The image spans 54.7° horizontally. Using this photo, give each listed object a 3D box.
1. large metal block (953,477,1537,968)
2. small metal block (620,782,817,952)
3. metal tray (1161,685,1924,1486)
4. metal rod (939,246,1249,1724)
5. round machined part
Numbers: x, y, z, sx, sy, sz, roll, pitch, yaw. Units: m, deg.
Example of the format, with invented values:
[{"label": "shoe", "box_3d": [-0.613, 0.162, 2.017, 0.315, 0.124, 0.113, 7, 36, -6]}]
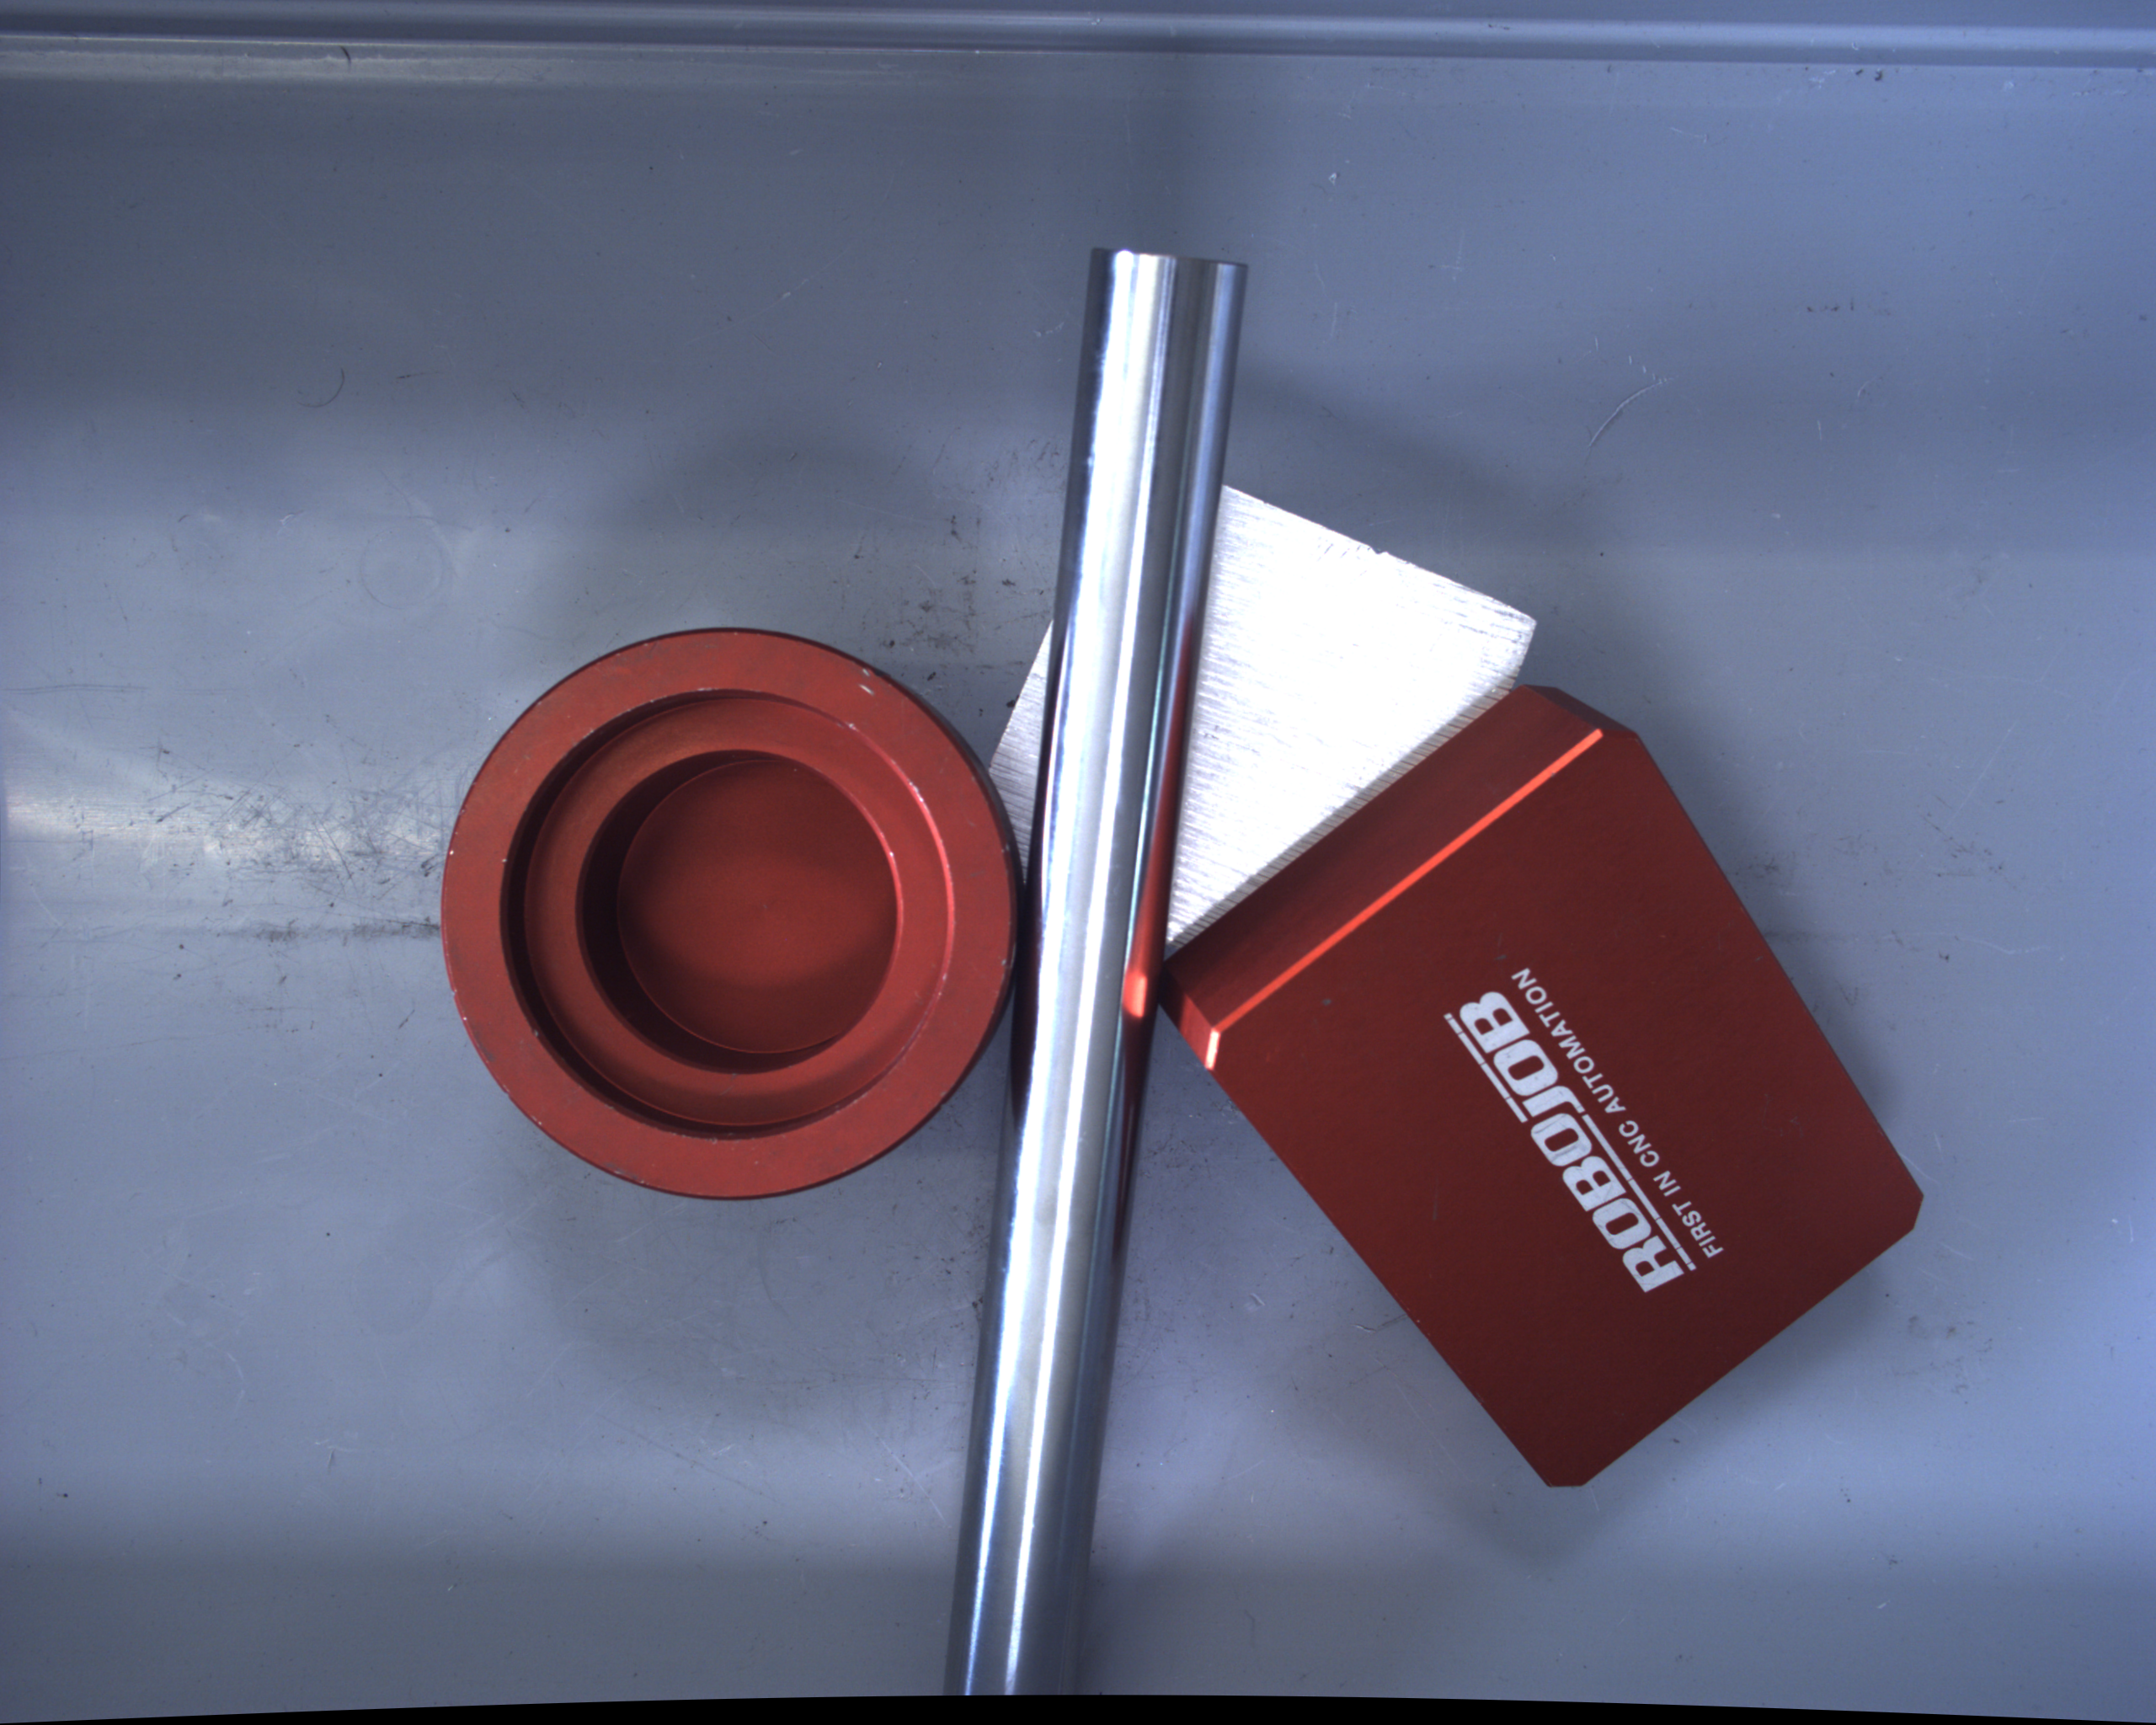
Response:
[{"label": "large metal block", "box_3d": [0.030, -0.023, 0.398, 0.080, 0.050, 0.080, 23, 90, 0]}, {"label": "small metal block", "box_3d": [-0.073, -0.007, 0.410, 0.050, 0.025, 0.050, -22, 90, 0]}, {"label": "metal tray", "box_3d": [0.087, 0.044, 0.383, 0.090, 0.030, 0.130, -38, 115, 0]}, {"label": "metal rod", "box_3d": [-0.001, 0.046, 0.370, 0.025, 0.025, 0.298, 6, 106, 0]}, {"label": "round machined part", "box_3d": [-0.059, 0.009, 0.374, 0.099, 0.042, 0.097, 0, 91, 3]}]
